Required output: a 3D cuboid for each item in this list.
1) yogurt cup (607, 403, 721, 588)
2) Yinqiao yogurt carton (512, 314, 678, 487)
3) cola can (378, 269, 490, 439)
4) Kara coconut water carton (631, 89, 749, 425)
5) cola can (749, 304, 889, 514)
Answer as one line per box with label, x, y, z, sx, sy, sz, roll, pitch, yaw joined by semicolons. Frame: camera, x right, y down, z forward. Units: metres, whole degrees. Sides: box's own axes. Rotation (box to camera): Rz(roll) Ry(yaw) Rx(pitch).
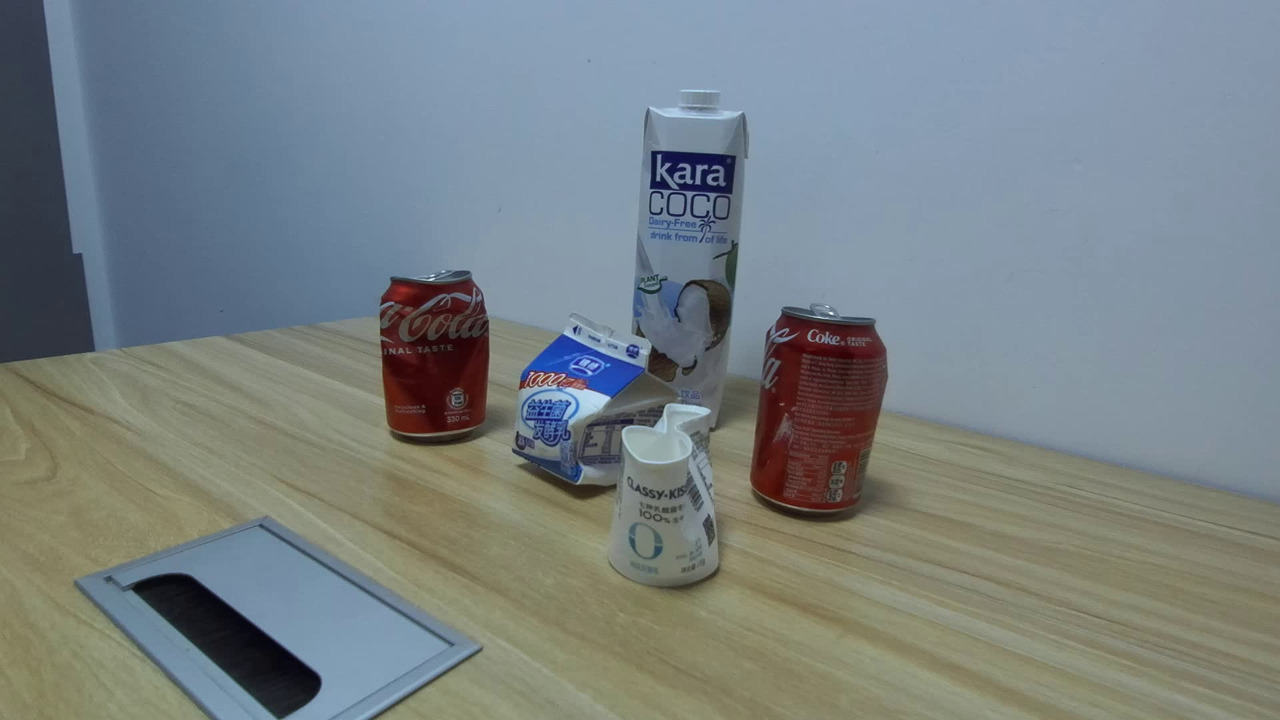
yogurt cup;0.014;0.064;0.339;0.054;0.071;0.075;2;15;-10
Yinqiao yogurt carton;-0.027;0.024;0.436;0.074;0.097;0.081;17;13;40
cola can;-0.140;-0.005;0.489;0.069;0.112;0.065;0;15;-12
Kara coconut water carton;0.036;-0.074;0.536;0.077;0.245;0.075;5;13;8
cola can;0.100;0.029;0.415;0.072;0.117;0.066;13;18;32
